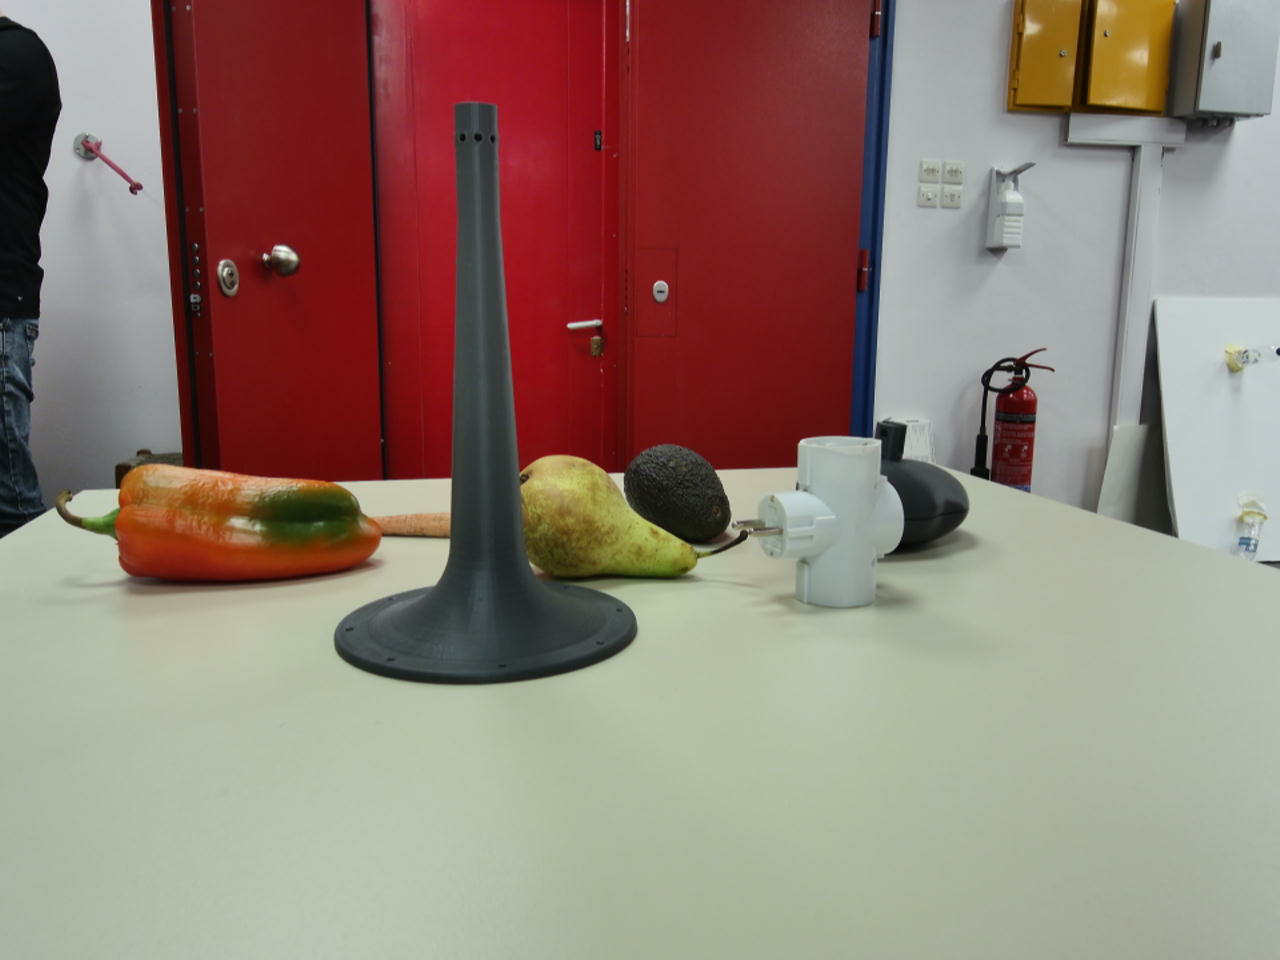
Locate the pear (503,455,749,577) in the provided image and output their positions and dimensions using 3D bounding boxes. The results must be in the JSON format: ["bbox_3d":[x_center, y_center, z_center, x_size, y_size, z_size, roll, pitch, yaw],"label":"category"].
[{"bbox_3d":[-0.011,0.022,0.613,0.144,0.075,0.071,-1,8,-5],"label":"pear"}]
